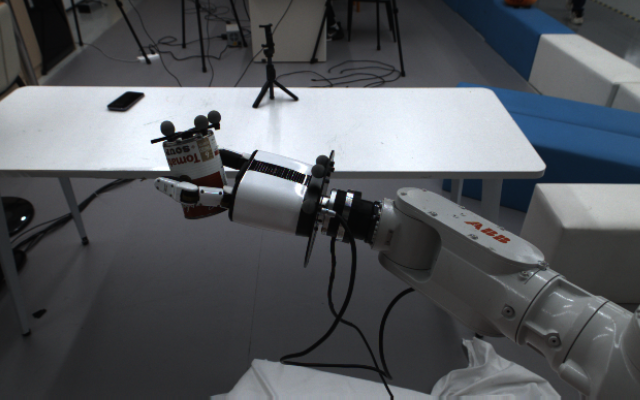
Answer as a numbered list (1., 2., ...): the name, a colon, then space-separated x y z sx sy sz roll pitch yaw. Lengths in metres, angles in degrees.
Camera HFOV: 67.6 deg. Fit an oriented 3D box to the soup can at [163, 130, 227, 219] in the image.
1. soup can: -0.158 -0.033 0.634 0.067 0.101 0.067 -13 17 4
